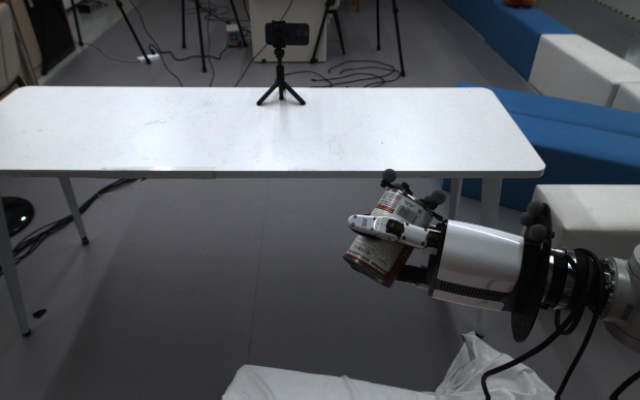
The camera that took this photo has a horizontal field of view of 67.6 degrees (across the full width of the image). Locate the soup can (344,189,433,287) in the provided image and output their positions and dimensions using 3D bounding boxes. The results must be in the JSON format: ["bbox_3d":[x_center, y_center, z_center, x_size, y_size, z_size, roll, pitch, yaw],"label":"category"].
[{"bbox_3d":[0.084,0.044,0.586,0.067,0.067,0.101,28,78,32],"label":"soup can"}]
